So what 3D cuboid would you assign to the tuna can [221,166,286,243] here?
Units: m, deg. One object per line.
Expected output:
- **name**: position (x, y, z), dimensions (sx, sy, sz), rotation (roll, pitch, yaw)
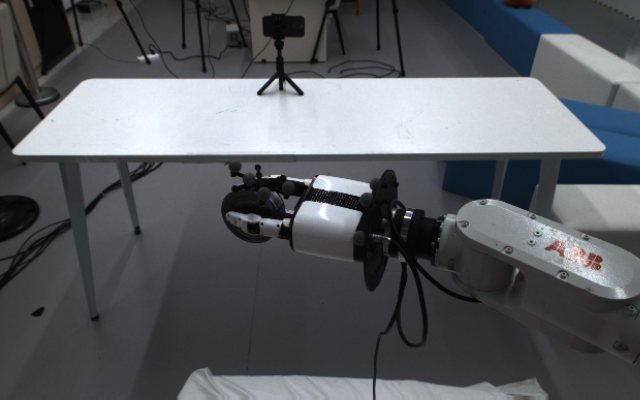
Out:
- **tuna can**: position (-0.091, 0.017, 0.680), dimensions (0.085, 0.085, 0.034), rotation (13, 30, 15)
